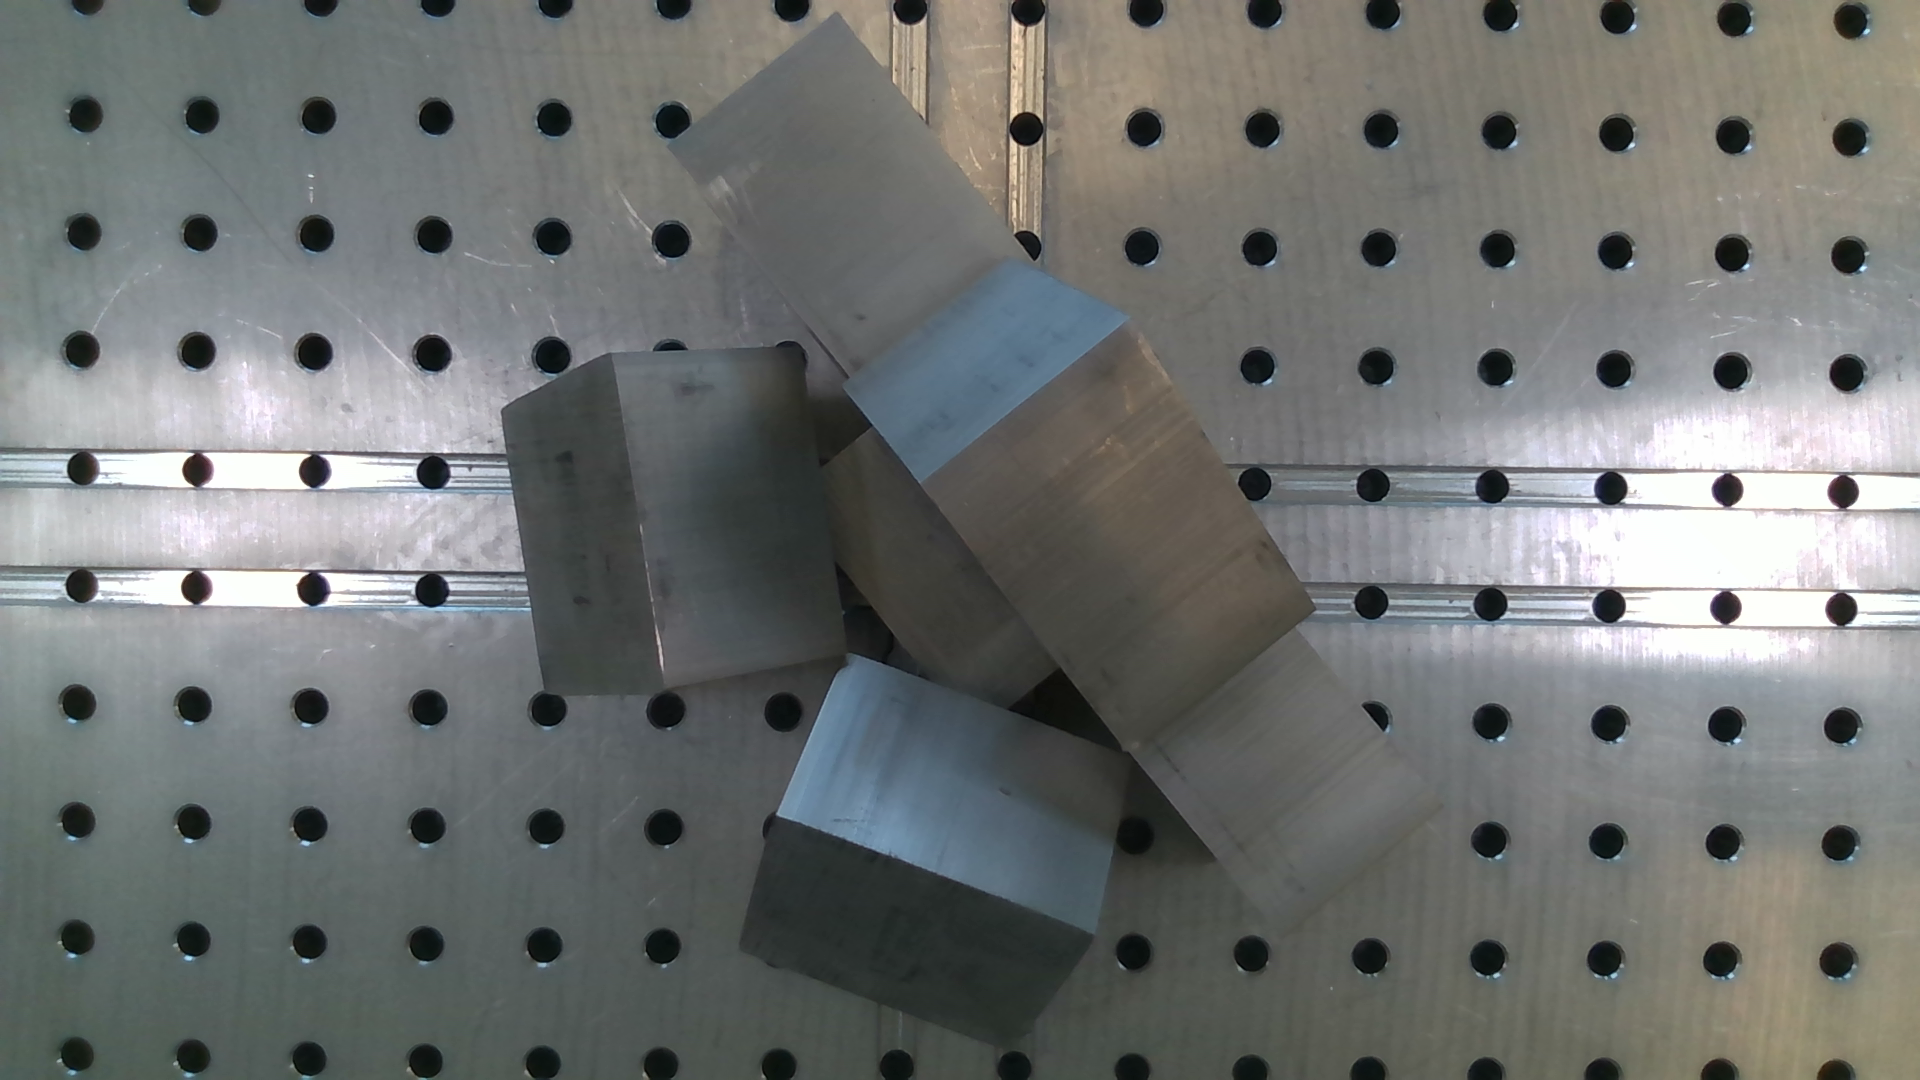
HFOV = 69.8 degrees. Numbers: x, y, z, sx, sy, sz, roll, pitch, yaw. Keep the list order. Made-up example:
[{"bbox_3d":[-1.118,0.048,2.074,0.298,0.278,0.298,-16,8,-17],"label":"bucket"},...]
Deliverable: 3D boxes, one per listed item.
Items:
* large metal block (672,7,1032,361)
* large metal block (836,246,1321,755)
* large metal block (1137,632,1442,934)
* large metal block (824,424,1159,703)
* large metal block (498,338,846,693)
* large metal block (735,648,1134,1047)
[{"bbox_3d":[-0.024,-0.080,0.368,0.050,0.080,0.080,-38,90,0],"label":"large metal block"},{"bbox_3d":[0.023,-0.012,0.307,0.050,0.080,0.080,-38,115,0],"label":"large metal block"},{"bbox_3d":[0.071,0.048,0.370,0.050,0.080,0.080,-39,90,0],"label":"large metal block"},{"bbox_3d":[0.009,-0.005,0.386,0.080,0.050,0.080,-39,90,0],"label":"large metal block"},{"bbox_3d":[-0.078,-0.004,0.363,0.050,0.080,0.080,-9,90,-37],"label":"large metal block"},{"bbox_3d":[-0.009,0.083,0.363,0.080,0.080,0.050,20,49,0],"label":"large metal block"}]
